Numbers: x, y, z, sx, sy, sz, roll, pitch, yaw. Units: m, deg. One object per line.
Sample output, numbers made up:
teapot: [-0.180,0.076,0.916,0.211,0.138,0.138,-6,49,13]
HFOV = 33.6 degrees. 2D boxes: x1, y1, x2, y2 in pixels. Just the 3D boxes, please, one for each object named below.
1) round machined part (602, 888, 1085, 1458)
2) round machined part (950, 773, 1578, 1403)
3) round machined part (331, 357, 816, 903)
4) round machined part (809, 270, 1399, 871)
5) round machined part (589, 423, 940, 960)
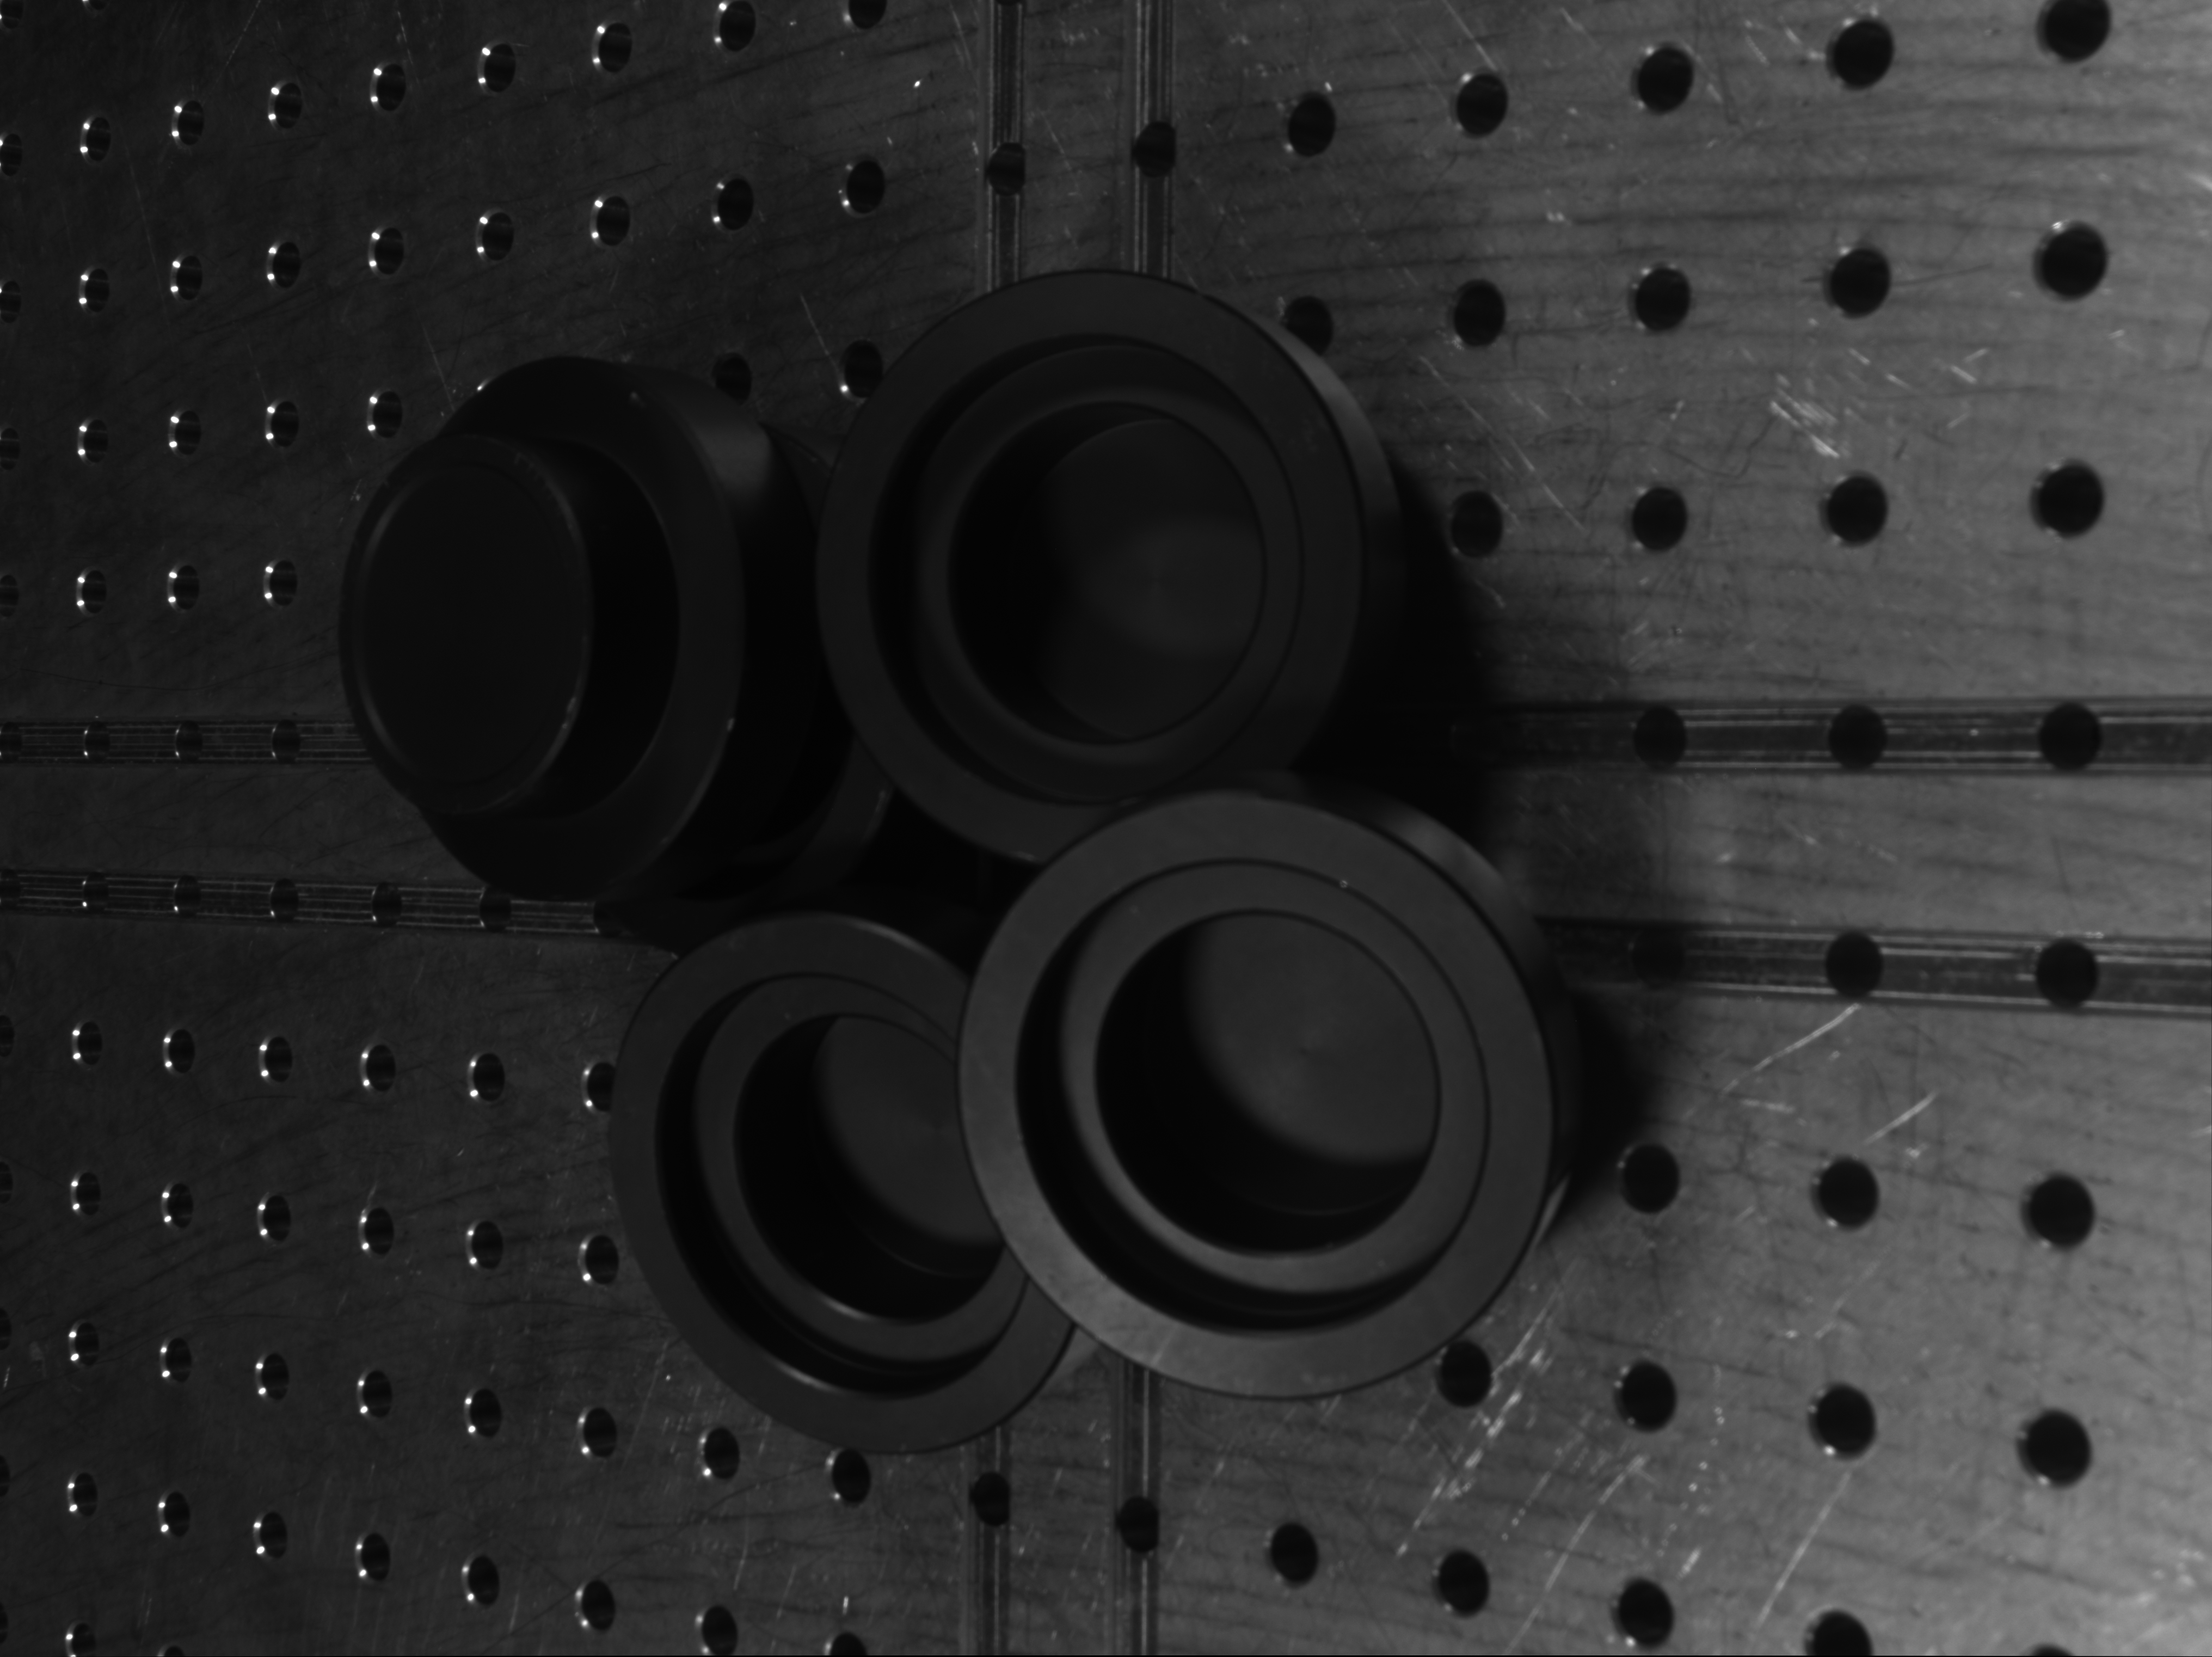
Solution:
round machined part: [-0.037,0.058,0.647,0.098,0.042,0.098,8,108,27]
round machined part: [0.028,0.039,0.590,0.098,0.042,0.098,3,101,18]
round machined part: [-0.101,-0.036,0.656,0.098,0.042,0.098,0,90,39]
round machined part: [0.003,-0.042,0.614,0.098,0.042,0.098,0,91,23]
round machined part: [-0.060,-0.025,0.677,0.098,0.042,0.098,0,90,39]
